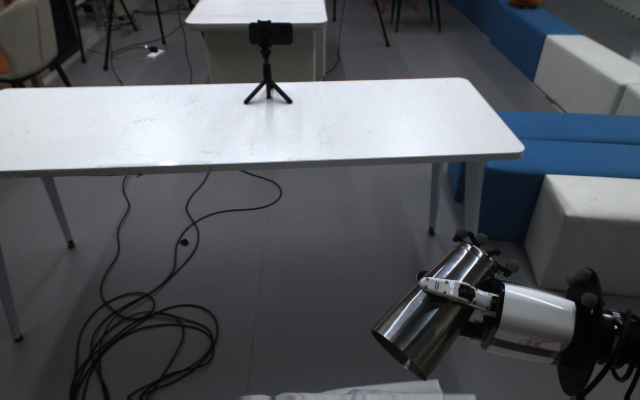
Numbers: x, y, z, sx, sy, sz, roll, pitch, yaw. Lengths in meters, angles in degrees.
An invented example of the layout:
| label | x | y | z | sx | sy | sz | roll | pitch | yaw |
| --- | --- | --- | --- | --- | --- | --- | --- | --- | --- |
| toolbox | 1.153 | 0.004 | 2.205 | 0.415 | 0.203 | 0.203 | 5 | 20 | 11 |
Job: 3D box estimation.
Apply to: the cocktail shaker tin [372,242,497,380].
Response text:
| label | x | y | z | sx | sy | sz | roll | pitch | yaw |
| --- | --- | --- | --- | --- | --- | --- | --- | --- | --- |
| cocktail shaker tin | 0.156 | 0.132 | 0.635 | 0.170 | 0.093 | 0.093 | -43 | 50 | -14 |
